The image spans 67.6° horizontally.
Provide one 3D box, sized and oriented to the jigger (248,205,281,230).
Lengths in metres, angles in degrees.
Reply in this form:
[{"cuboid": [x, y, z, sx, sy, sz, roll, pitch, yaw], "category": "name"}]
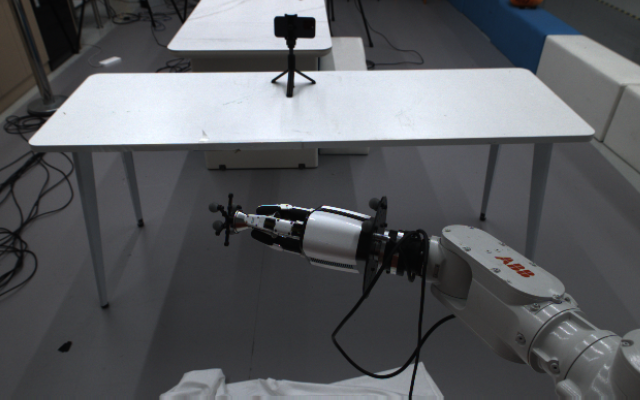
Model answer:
[{"cuboid": [-0.096, 0.033, 0.794, 0.071, 0.043, 0.043, 4, 34, 15], "category": "jigger"}]
